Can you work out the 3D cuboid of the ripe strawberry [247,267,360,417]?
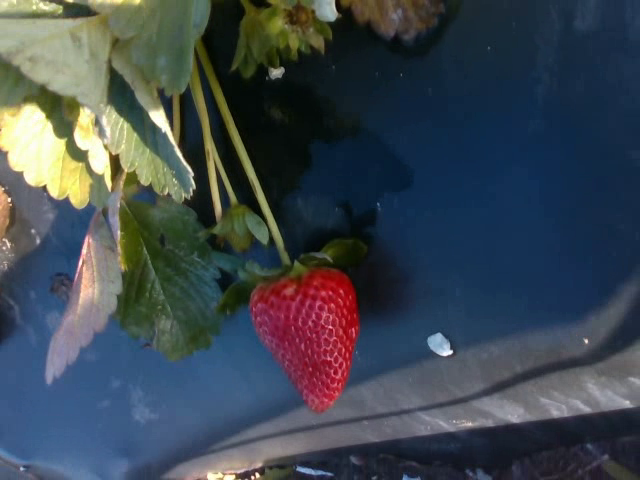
[{"bbox_3d":[-0.003,0.033,0.208,0.045,0.055,0.041,-18,-16,20],"label":"ripe strawberry"}]
